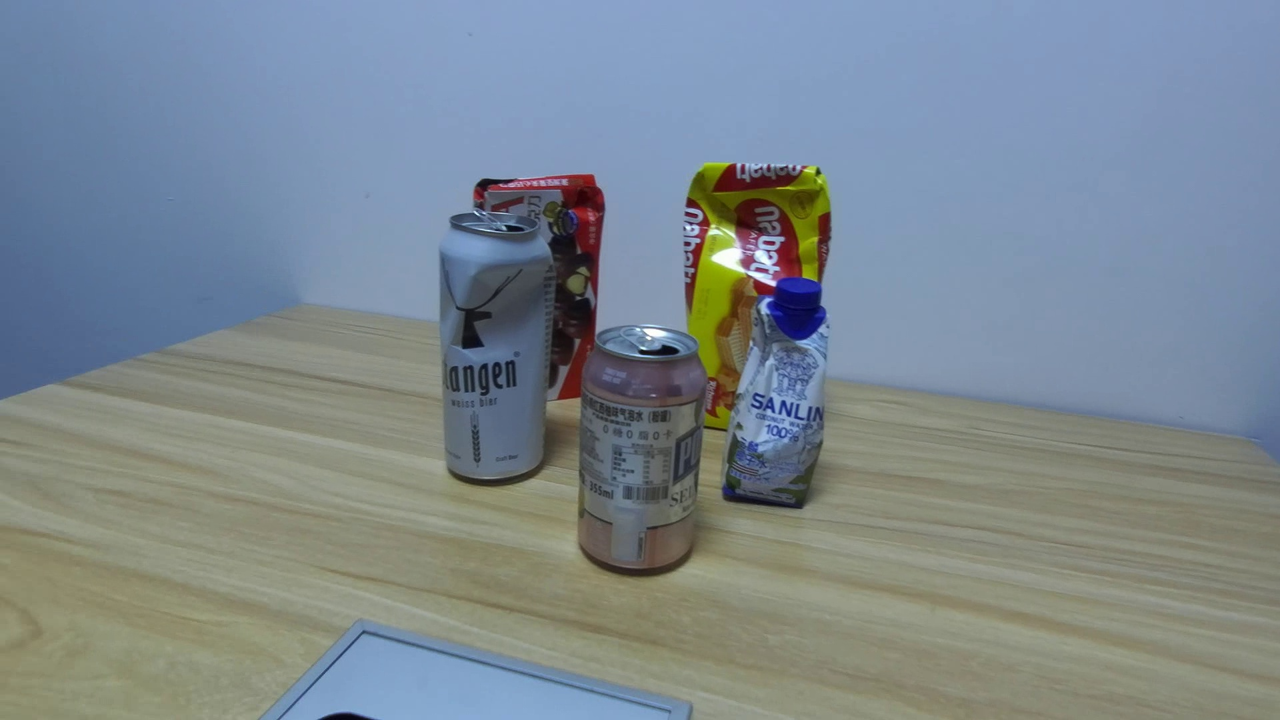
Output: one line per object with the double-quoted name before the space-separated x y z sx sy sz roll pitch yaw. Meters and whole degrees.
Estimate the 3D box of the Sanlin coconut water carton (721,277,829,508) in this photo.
"Sanlin coconut water carton" 0.095 0.018 0.461 0.057 0.144 0.068 10 12 1

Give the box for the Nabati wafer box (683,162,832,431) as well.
"Nabati wafer box" 0.084 -0.044 0.541 0.113 0.205 0.043 7 16 14

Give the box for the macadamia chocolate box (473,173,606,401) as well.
"macadamia chocolate box" -0.079 -0.054 0.570 0.103 0.187 0.027 -6 24 -23

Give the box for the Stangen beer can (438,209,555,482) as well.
"Stangen beer can" -0.093 -0.007 0.458 0.070 0.173 0.070 7 20 10

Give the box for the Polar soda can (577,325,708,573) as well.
"Polar soda can" 0.000 0.047 0.387 0.067 0.125 0.067 3 20 -1
